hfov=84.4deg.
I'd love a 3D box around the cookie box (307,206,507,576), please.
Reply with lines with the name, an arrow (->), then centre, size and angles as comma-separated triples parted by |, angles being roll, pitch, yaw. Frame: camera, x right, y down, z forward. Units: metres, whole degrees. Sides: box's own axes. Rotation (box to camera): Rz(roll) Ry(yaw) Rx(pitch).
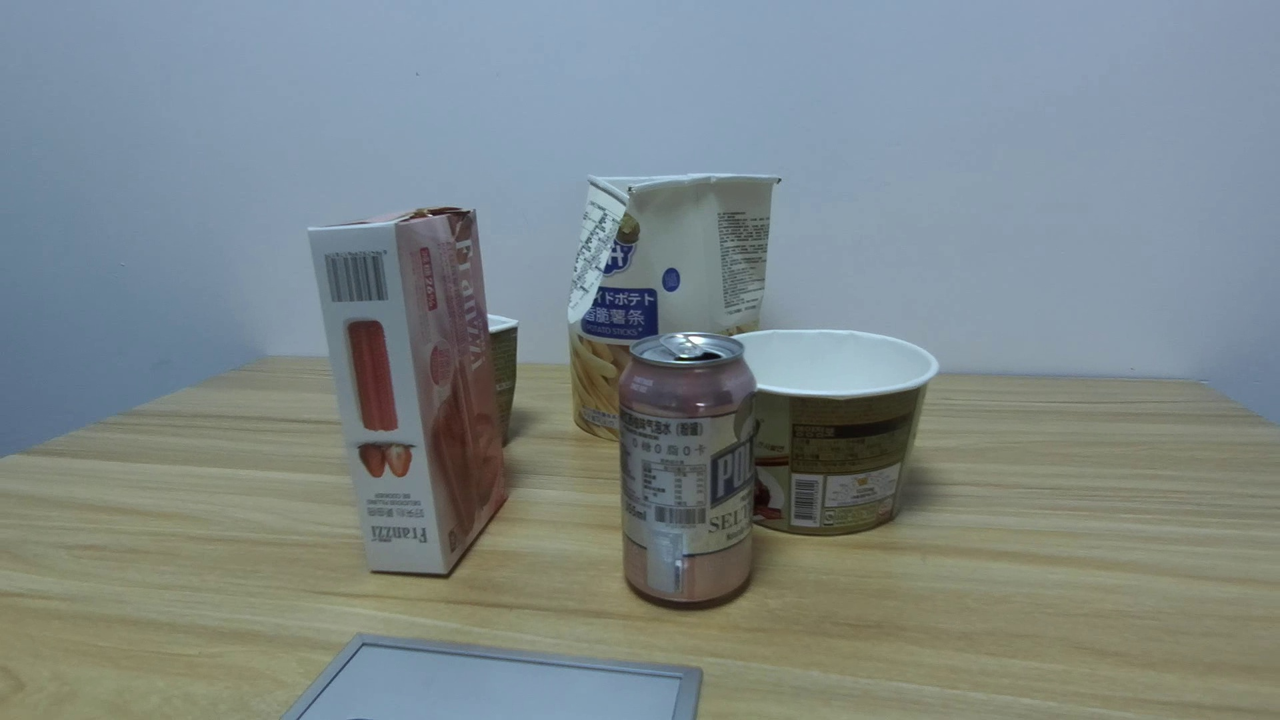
cookie box -> -0.120, 0.011, 0.398 | 0.049, 0.187, 0.105 | 0, 17, 10

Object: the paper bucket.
paper bucket -> 0.010, -0.049, 0.584 | 0.170, 0.202, 0.162 | -11, 16, -39
